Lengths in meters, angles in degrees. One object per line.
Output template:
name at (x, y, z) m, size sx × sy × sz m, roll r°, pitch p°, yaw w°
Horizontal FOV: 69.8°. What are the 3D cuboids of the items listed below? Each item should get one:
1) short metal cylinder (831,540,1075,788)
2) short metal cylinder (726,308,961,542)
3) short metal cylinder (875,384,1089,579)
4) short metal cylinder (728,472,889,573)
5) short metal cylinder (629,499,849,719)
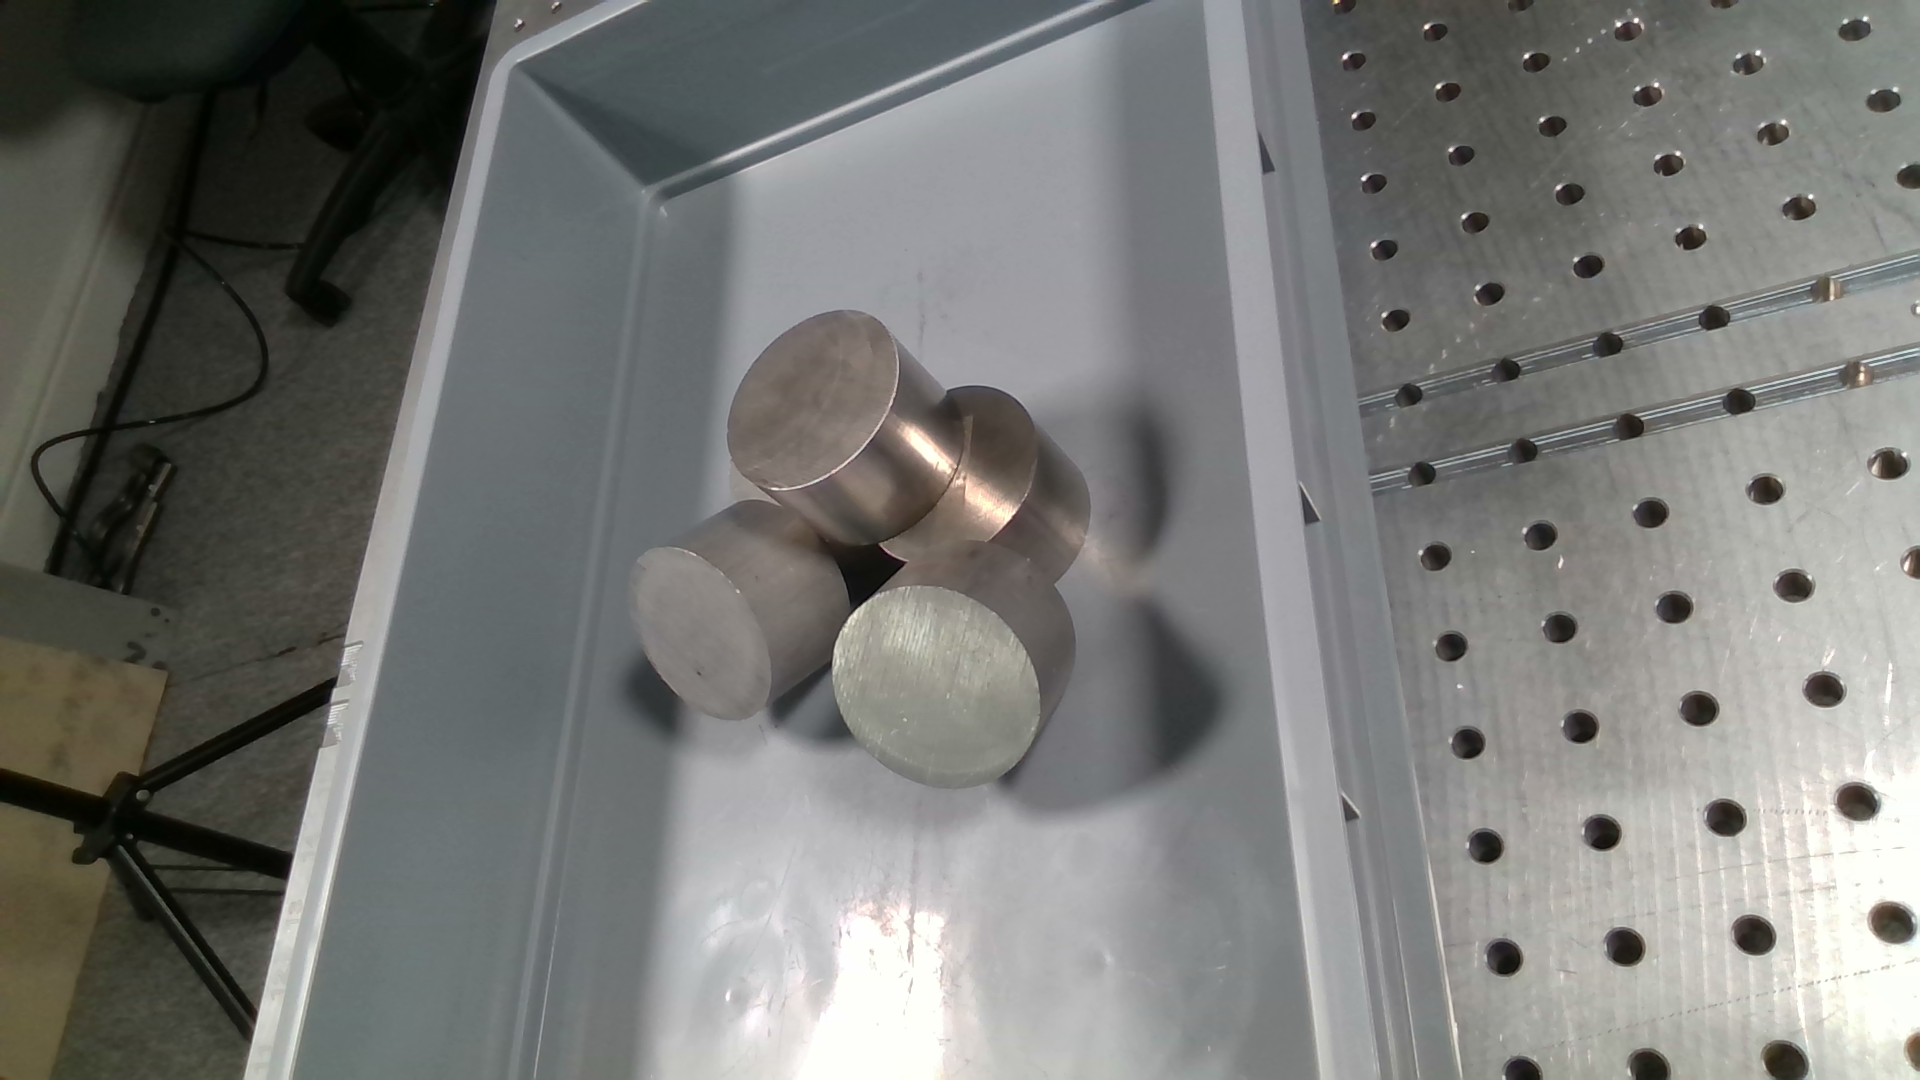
short metal cylinder at (-0.002, 0.046, 0.518) m, size 0.080 × 0.050 × 0.080 m, roll 6°, pitch 110°, yaw 18°
short metal cylinder at (-0.047, -0.046, 0.555) m, size 0.080 × 0.050 × 0.080 m, roll -14°, pitch 59°, yaw 25°
short metal cylinder at (0.007, -0.017, 0.572) m, size 0.080 × 0.050 × 0.080 m, roll -14°, pitch 59°, yaw 25°
short metal cylinder at (-0.057, -0.030, 0.620) m, size 0.080 × 0.050 × 0.080 m, roll -14°, pitch 59°, yaw 25°
short metal cylinder at (-0.093, 0.028, 0.582) m, size 0.080 × 0.080 × 0.050 m, roll 10°, pitch 31°, yaw 35°
